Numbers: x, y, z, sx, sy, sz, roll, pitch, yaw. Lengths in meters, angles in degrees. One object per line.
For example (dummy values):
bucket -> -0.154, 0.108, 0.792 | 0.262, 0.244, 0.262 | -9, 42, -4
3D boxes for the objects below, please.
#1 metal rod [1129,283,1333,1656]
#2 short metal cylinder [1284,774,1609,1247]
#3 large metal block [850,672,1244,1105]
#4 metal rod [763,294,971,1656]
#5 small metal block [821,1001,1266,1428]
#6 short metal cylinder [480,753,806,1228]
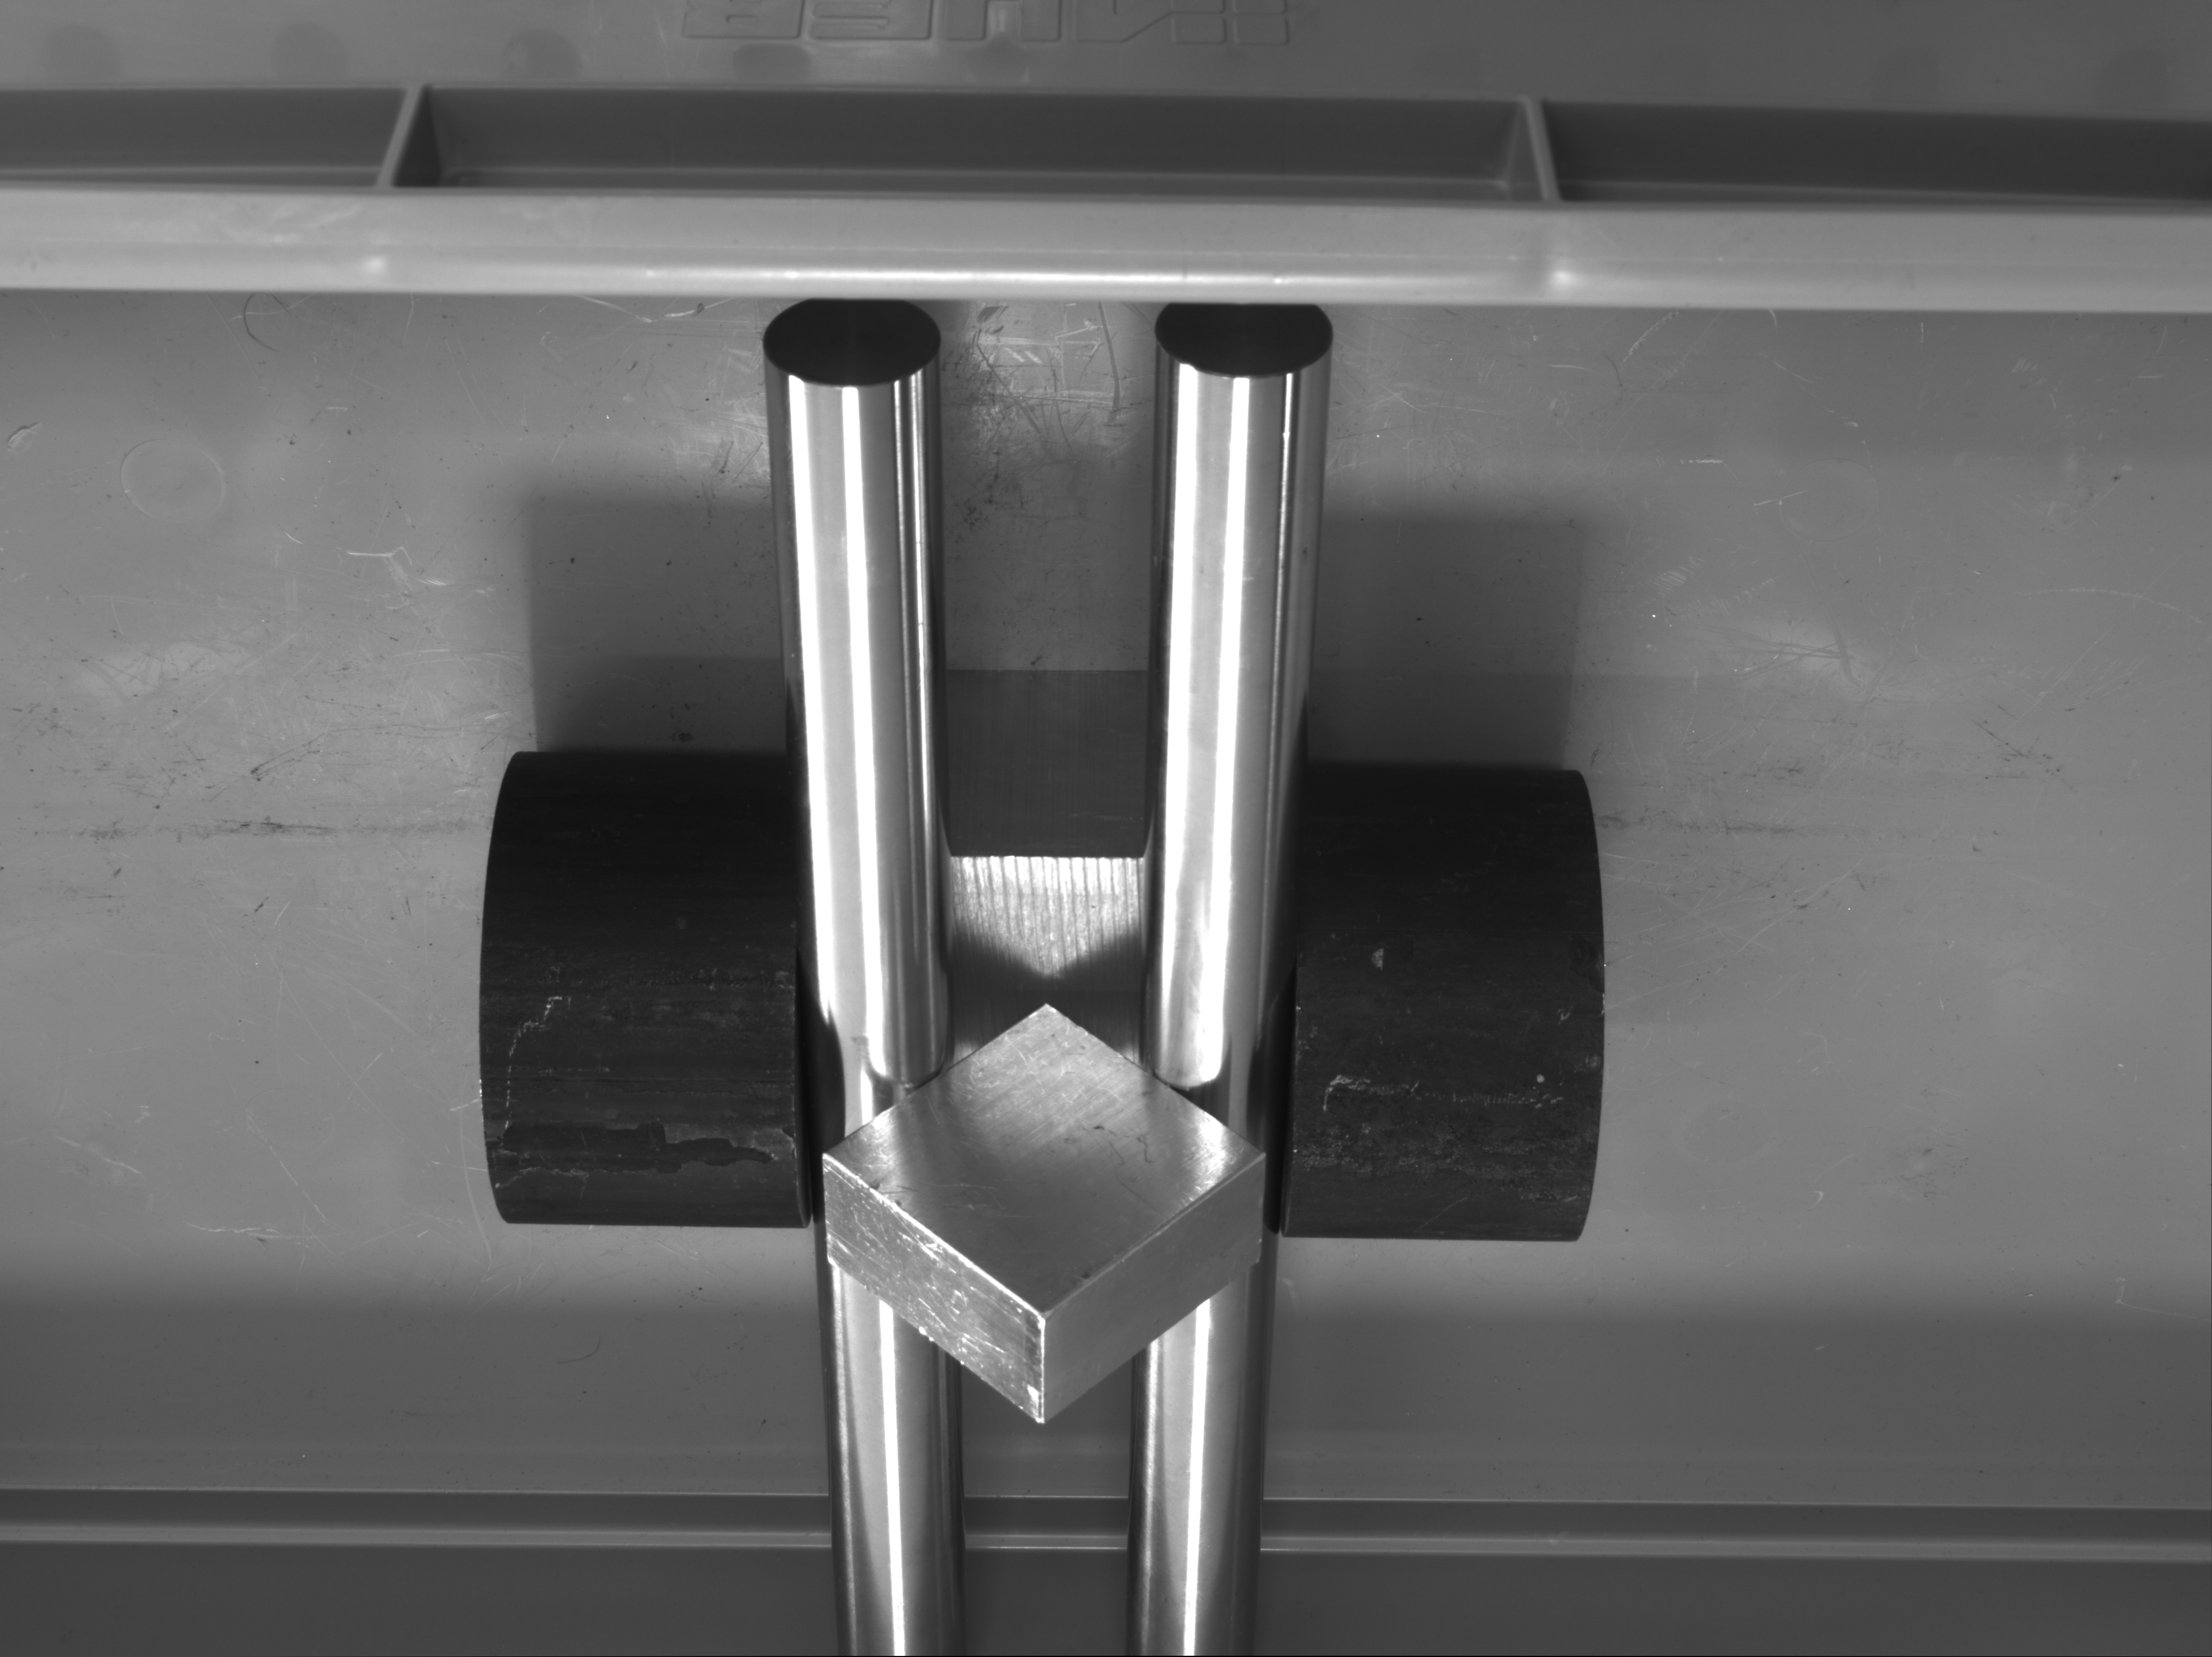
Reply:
metal rod -> 0.018, 0.045, 0.611 | 0.025, 0.025, 0.300 | 0, 130, 0
short metal cylinder -> 0.056, 0.031, 0.628 | 0.050, 0.080, 0.080 | 1, 130, 0
large metal block -> -0.010, 0.020, 0.638 | 0.080, 0.050, 0.080 | 1, 130, 0
metal rod -> -0.037, 0.047, 0.612 | 0.025, 0.025, 0.300 | 0, 130, 0
small metal block -> -0.010, 0.061, 0.591 | 0.050, 0.050, 0.025 | 33, 140, 32
short metal cylinder -> -0.075, 0.028, 0.625 | 0.050, 0.080, 0.080 | 1, 130, -1
